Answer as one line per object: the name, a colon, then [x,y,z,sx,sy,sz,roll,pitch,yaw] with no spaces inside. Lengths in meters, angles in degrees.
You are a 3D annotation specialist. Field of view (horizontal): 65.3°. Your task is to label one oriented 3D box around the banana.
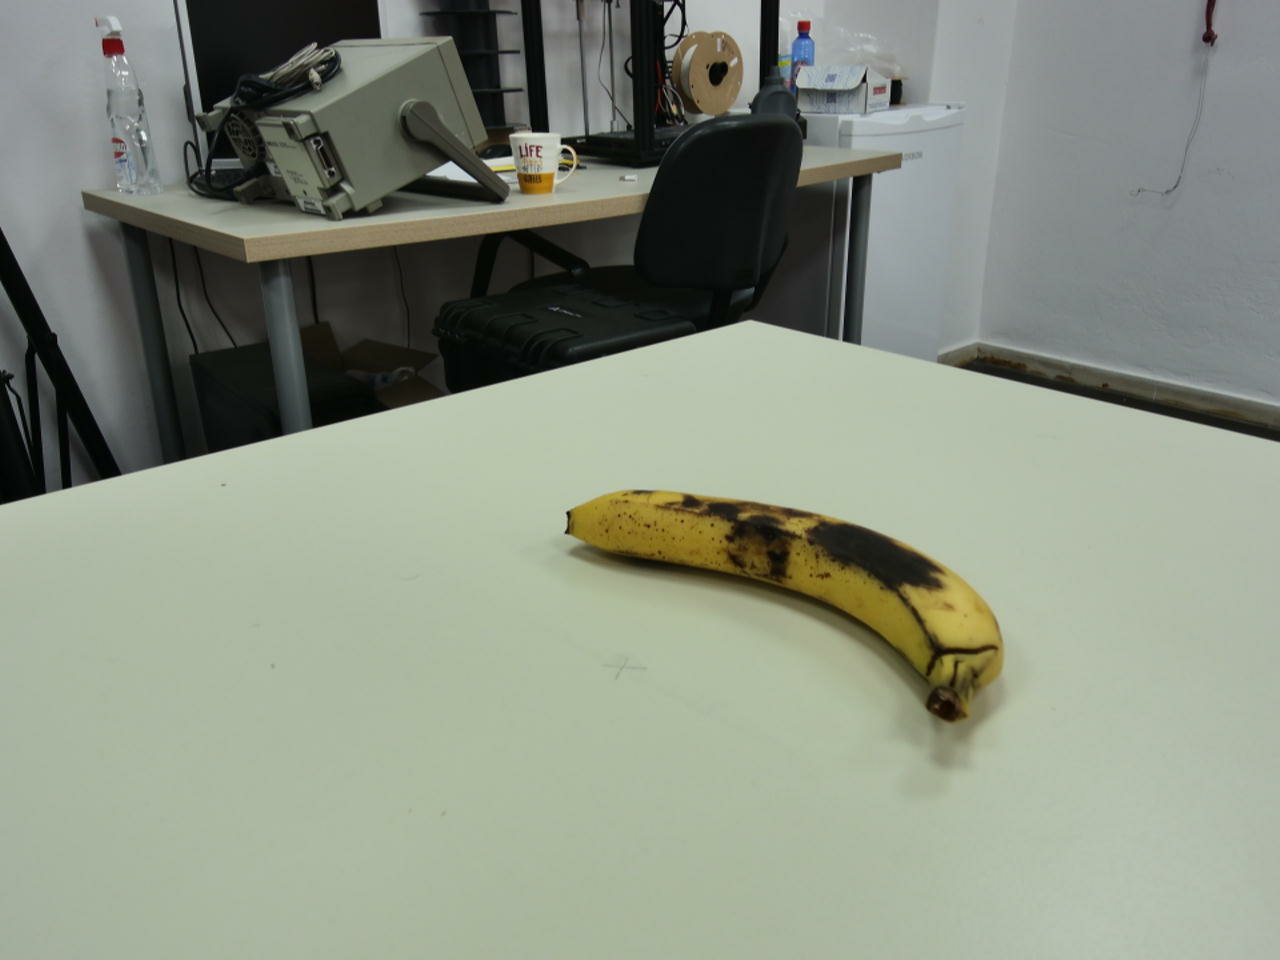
banana: [0.064,0.039,0.431,0.084,0.037,0.222,-17,27,-35]
